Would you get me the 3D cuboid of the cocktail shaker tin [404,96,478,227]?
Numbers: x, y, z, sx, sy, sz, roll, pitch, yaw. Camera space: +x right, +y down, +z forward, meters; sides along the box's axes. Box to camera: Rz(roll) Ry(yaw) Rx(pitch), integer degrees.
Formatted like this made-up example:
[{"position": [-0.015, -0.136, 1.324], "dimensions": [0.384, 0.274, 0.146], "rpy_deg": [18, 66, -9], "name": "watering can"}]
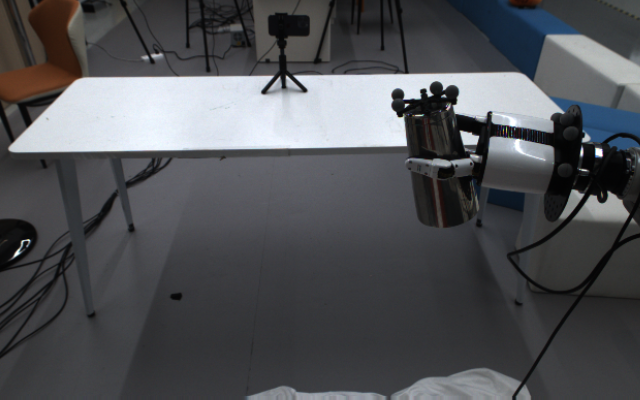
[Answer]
[{"position": [0.169, -0.057, 0.693], "dimensions": [0.093, 0.170, 0.093], "rpy_deg": [-15, 29, 8], "name": "cocktail shaker tin"}]
